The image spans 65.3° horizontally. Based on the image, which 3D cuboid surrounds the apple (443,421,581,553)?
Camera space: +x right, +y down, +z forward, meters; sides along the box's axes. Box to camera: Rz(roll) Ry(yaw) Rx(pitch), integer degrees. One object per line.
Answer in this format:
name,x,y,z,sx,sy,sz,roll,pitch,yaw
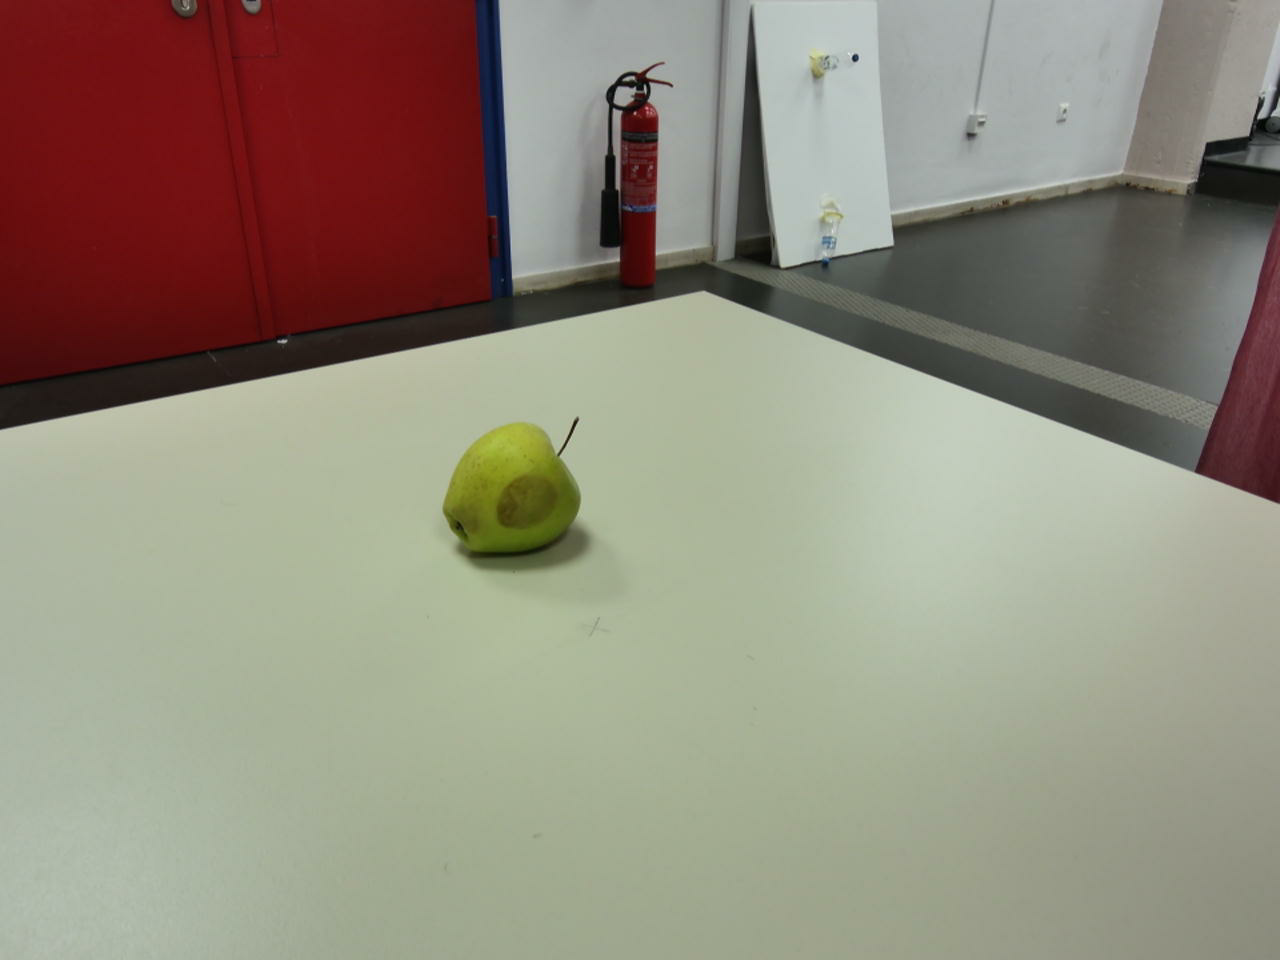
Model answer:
apple,-0.073,0.004,0.588,0.077,0.075,0.072,5,26,7
